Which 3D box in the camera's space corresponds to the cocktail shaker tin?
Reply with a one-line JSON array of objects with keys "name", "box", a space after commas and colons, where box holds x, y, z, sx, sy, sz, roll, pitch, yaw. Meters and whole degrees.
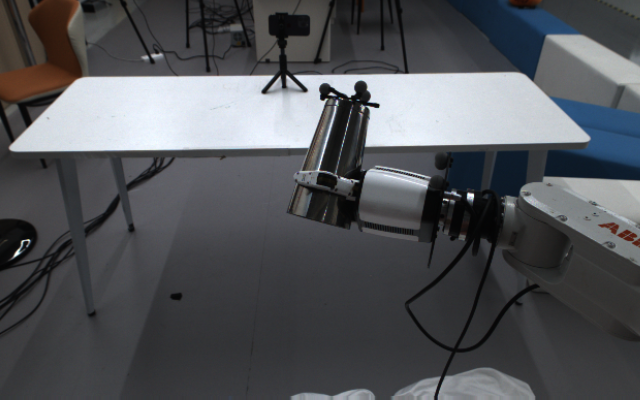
[{"name": "cocktail shaker tin", "box": [0.018, -0.052, 0.684, 0.093, 0.170, 0.093, 15, -4, 1]}]
